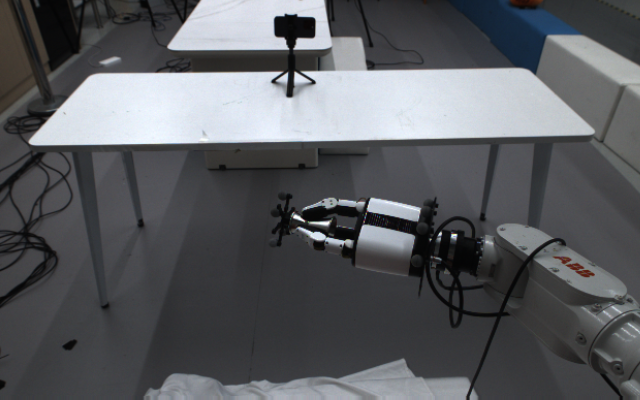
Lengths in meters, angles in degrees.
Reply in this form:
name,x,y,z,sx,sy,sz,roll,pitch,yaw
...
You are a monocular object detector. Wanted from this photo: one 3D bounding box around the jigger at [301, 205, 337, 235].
name,x,y,z,sx,sy,sz,roll,pitch,yaw
jigger,-0.006,0.039,0.789,0.071,0.043,0.043,10,36,15
